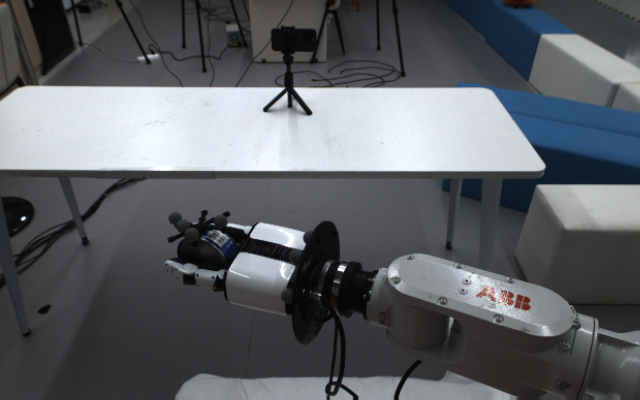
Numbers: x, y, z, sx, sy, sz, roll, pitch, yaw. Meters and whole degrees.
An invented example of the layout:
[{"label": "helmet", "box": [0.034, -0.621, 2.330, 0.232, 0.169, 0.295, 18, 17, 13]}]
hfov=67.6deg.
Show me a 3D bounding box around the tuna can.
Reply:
[{"label": "tuna can", "box": [-0.148, 0.078, 0.661, 0.085, 0.085, 0.034, 17, 35, 20]}]
